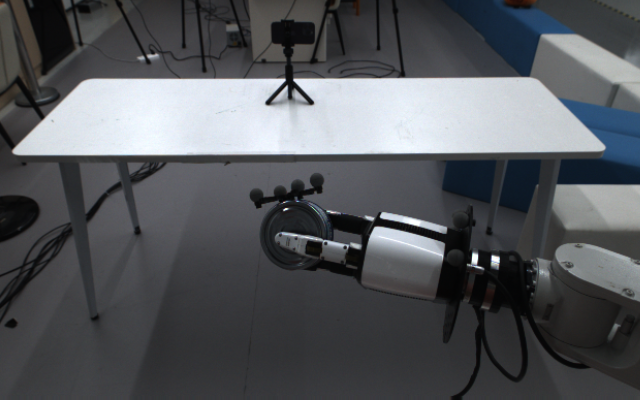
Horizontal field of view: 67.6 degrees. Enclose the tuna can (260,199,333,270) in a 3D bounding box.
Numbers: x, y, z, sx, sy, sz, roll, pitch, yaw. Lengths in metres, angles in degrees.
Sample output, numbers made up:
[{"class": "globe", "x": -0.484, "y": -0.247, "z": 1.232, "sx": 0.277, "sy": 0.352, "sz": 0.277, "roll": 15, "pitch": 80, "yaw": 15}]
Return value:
[{"class": "tuna can", "x": -0.024, "y": 0.047, "z": 0.585, "sx": 0.085, "sy": 0.085, "sz": 0.034, "roll": 12, "pitch": 3, "yaw": 14}]
